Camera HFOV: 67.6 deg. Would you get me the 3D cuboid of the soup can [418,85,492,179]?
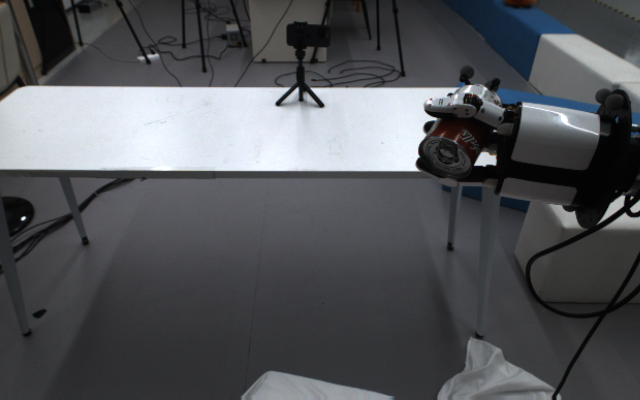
[{"bbox_3d":[0.175,-0.086,0.590,0.067,0.067,0.101,22,61,26],"label":"soup can"}]
